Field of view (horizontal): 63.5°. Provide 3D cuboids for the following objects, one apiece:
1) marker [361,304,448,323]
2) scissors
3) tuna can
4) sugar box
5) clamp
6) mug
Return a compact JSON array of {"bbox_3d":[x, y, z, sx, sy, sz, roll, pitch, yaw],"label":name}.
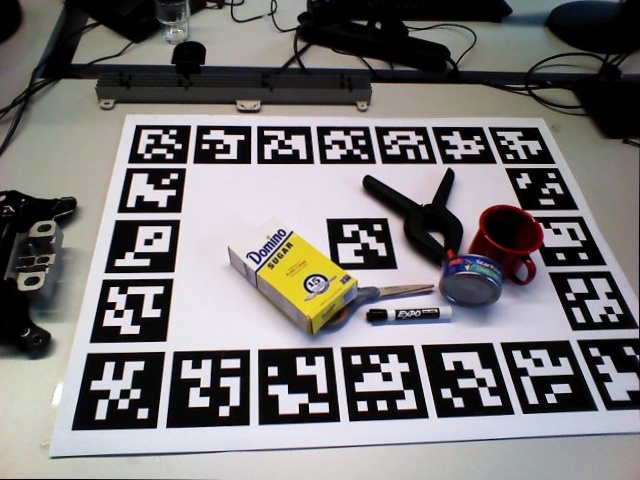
[{"bbox_3d":[0.118,0.104,0.728,0.121,0.020,0.019,-4,55,-6],"label":"marker"},{"bbox_3d":[0.070,0.070,0.747,0.202,0.016,0.087,-8,51,-12],"label":"scissors"},{"bbox_3d":[0.220,0.056,0.729,0.086,0.086,0.033,13,53,6],"label":"tuna can"},{"bbox_3d":[-0.037,0.043,0.739,0.092,0.045,0.177,-33,56,-25],"label":"sugar box"},{"bbox_3d":[0.178,-0.038,0.840,0.165,0.037,0.202,-9,56,-11],"label":"clamp"},{"bbox_3d":[0.276,0.016,0.769,0.093,0.082,0.117,-24,55,-20],"label":"mug"}]
